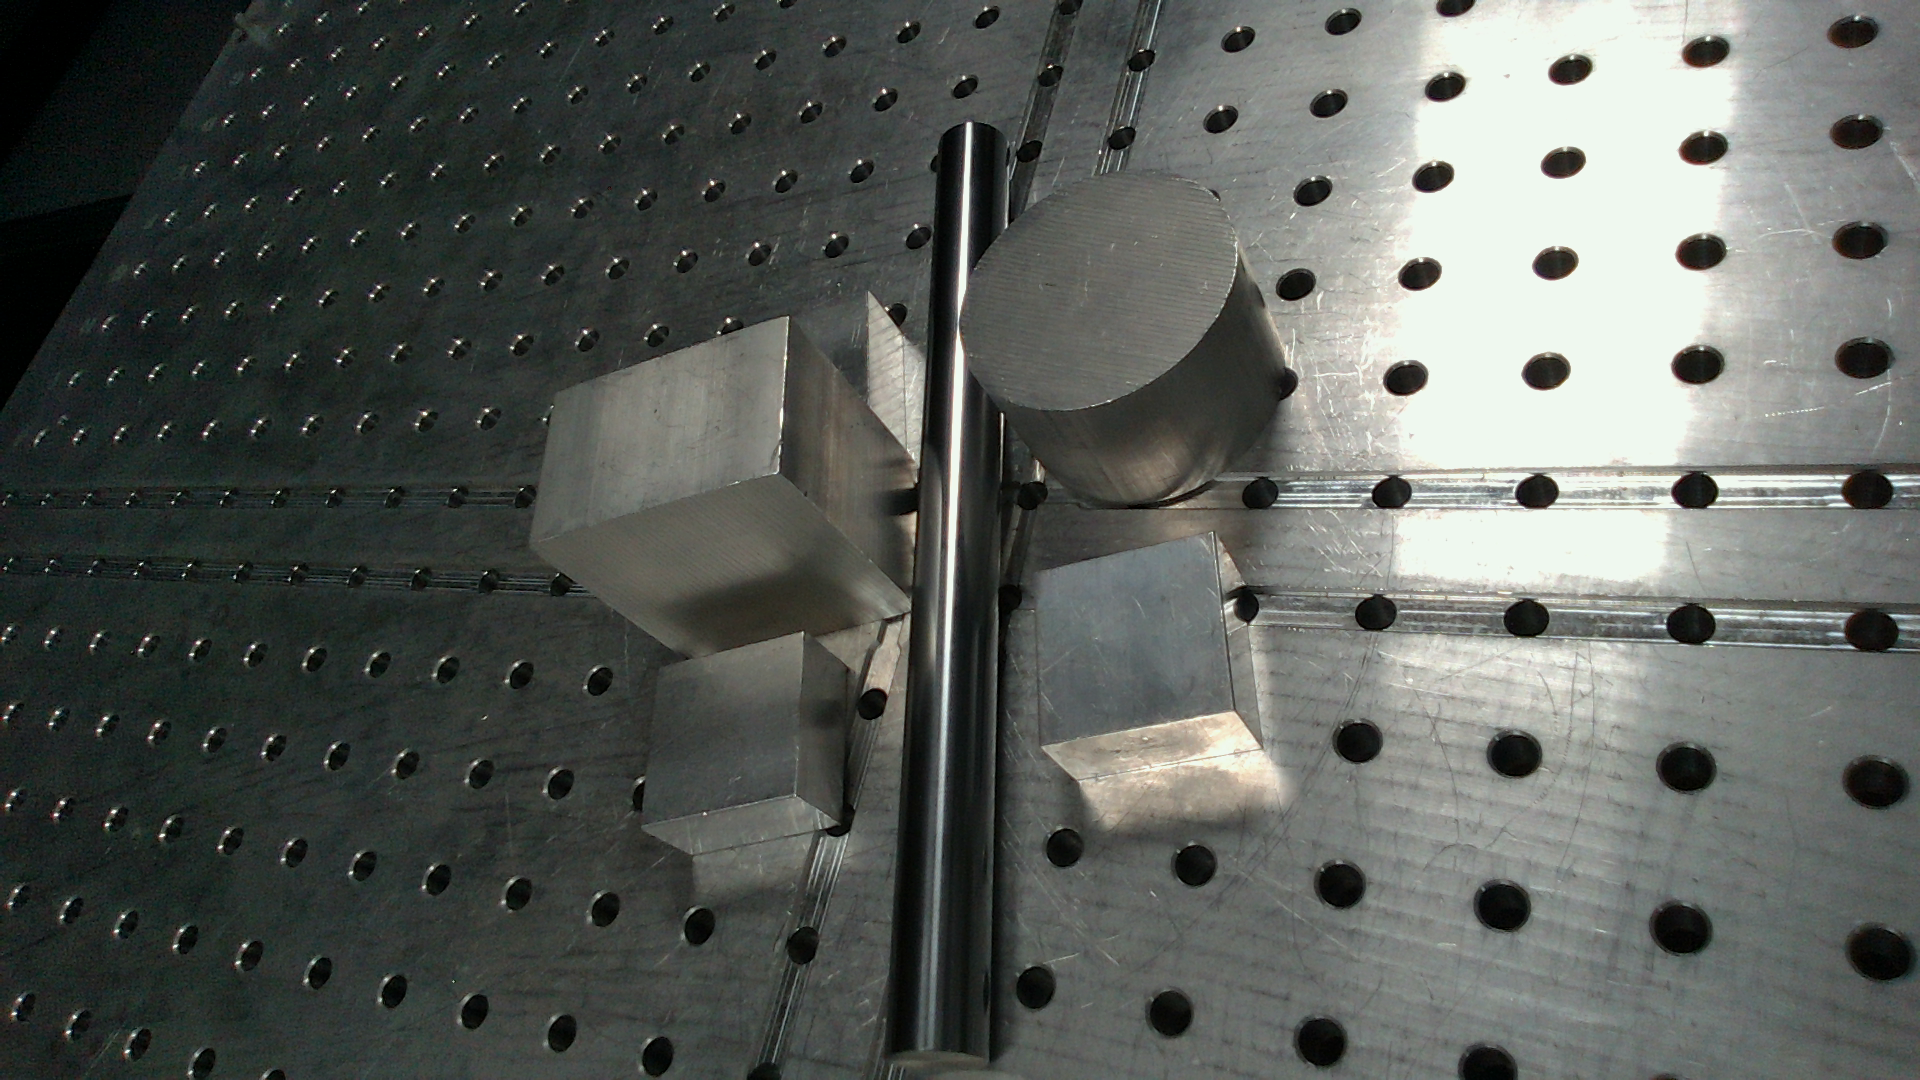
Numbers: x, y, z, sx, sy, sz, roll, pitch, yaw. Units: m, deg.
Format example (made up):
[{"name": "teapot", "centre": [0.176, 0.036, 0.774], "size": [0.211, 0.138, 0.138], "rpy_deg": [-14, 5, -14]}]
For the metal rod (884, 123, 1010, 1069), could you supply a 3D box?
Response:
[{"name": "metal rod", "centre": [0.000, -0.006, 0.400], "size": [0.025, 0.025, 0.300], "rpy_deg": [-12, 56, 22]}]

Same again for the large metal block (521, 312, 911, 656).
[{"name": "large metal block", "centre": [-0.066, -0.012, 0.402], "size": [0.080, 0.080, 0.050], "rpy_deg": [-15, 55, 20]}]

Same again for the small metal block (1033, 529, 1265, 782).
[{"name": "small metal block", "centre": [0.047, 0.030, 0.352], "size": [0.050, 0.025, 0.050], "rpy_deg": [-14, 56, 21]}]

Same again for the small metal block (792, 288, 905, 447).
[{"name": "small metal block", "centre": [-0.046, -0.048, 0.452], "size": [0.050, 0.025, 0.050], "rpy_deg": [-16, 55, 19]}]

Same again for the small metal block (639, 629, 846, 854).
[{"name": "small metal block", "centre": [-0.061, 0.058, 0.394], "size": [0.050, 0.025, 0.050], "rpy_deg": [-15, 55, 20]}]

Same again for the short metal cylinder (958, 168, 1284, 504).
[{"name": "short metal cylinder", "centre": [0.046, -0.058, 0.391], "size": [0.080, 0.050, 0.080], "rpy_deg": [-14, 56, 21]}]
